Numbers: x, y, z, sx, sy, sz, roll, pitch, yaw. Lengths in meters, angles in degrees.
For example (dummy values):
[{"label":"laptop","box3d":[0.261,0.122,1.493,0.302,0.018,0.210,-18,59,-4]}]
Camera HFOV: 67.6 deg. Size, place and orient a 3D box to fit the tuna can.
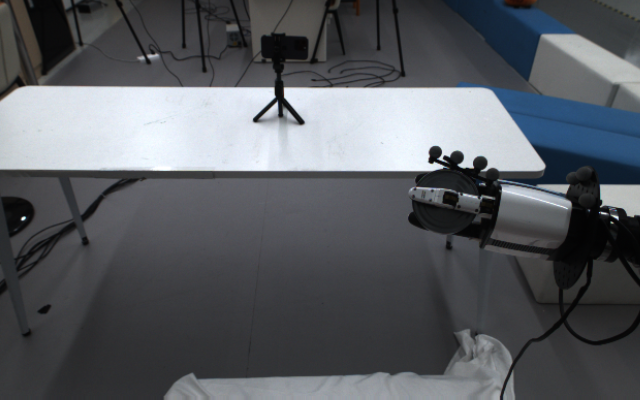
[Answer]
[{"label":"tuna can","box3d":[0.168,0.002,0.645,0.085,0.085,0.034,14,-7,16]}]
